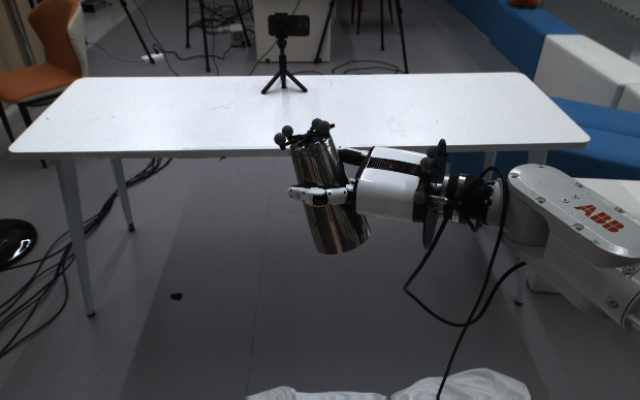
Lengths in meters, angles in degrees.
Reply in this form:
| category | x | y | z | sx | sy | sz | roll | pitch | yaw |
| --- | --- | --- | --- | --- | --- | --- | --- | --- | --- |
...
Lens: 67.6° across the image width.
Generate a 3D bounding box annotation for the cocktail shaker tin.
| category | x | y | z | sx | sy | sz | roll | pitch | yaw |
| --- | --- | --- | --- | --- | --- | --- | --- | --- | --- |
| cocktail shaker tin | 0.011 | -0.013 | 0.744 | 0.093 | 0.170 | 0.093 | -17 | 20 | 7 |
